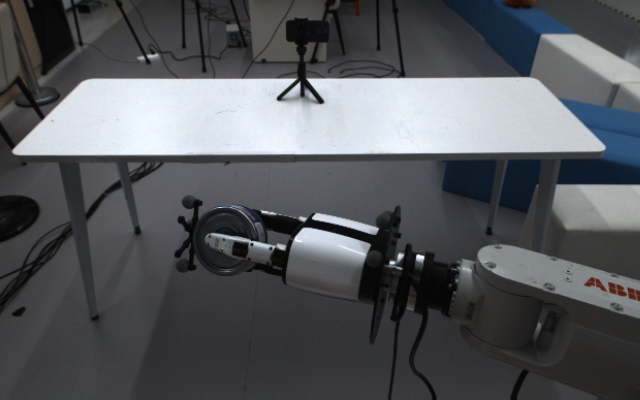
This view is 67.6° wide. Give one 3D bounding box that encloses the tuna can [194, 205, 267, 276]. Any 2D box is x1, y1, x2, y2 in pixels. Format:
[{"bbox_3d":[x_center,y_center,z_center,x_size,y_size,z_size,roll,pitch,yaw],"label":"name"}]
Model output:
[{"bbox_3d":[-0.107,0.047,0.589,0.085,0.085,0.034,10,2,11],"label":"tuna can"}]
